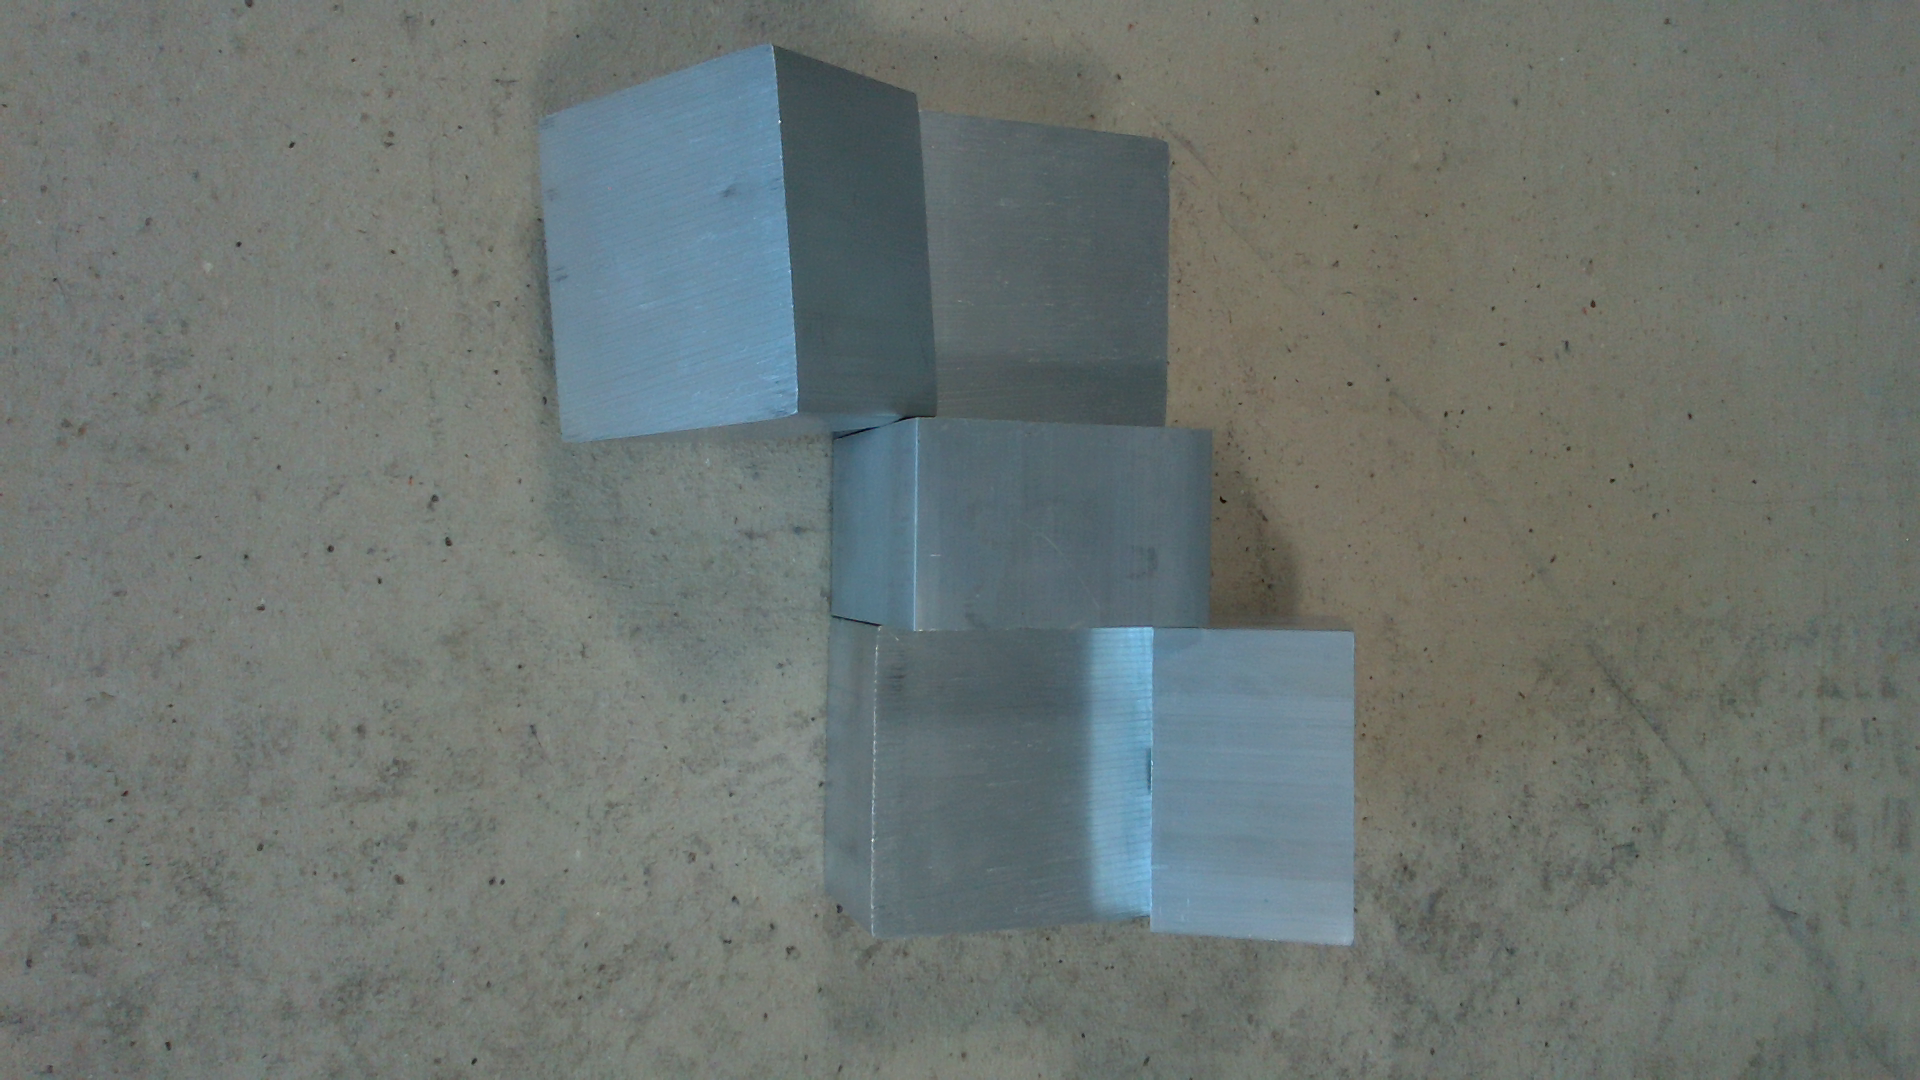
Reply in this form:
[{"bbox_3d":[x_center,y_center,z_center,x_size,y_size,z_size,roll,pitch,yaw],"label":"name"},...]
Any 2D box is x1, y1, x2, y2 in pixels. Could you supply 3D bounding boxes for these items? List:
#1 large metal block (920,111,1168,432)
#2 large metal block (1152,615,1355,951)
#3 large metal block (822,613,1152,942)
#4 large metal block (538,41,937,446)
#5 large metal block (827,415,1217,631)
[{"bbox_3d":[0.010,-0.069,0.382,0.080,0.050,0.080,1,89,-20],"label":"large metal block"},{"bbox_3d":[0.082,0.062,0.387,0.050,0.080,0.080,0,90,12],"label":"large metal block"},{"bbox_3d":[0.007,0.062,0.383,0.080,0.050,0.080,1,91,-20],"label":"large metal block"},{"bbox_3d":[-0.055,-0.066,0.337,0.050,0.080,0.080,-5,92,-54],"label":"large metal block"},{"bbox_3d":[0.013,-0.004,0.369,0.080,0.080,0.050,0,90,-20],"label":"large metal block"}]
